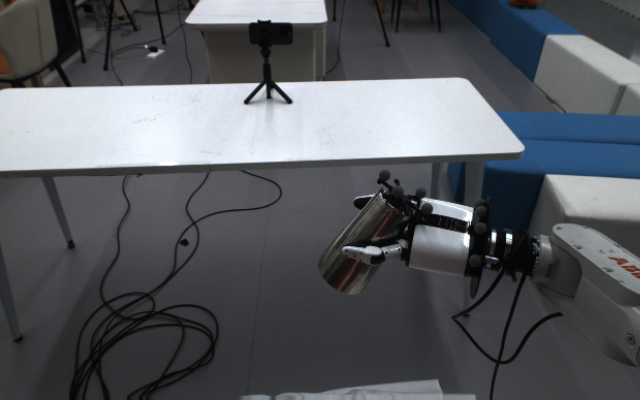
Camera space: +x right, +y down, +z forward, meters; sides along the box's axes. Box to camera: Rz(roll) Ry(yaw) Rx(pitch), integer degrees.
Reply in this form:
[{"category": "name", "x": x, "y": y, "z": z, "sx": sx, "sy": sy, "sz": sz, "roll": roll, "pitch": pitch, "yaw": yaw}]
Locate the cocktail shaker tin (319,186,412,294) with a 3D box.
[{"category": "cocktail shaker tin", "x": 0.078, "y": 0.058, "z": 0.777, "sx": 0.093, "sy": 0.170, "sz": 0.093, "roll": 26, "pitch": 32, "yaw": -17}]
